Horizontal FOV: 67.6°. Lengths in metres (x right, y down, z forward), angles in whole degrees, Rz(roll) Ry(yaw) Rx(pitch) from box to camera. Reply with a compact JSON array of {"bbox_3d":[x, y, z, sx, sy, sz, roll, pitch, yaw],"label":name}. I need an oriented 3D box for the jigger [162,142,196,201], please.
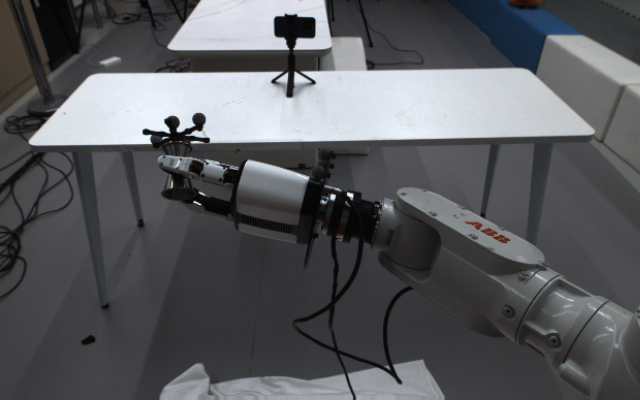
[{"bbox_3d":[-0.187,-0.039,0.640,0.043,0.043,0.071,-5,71,-9],"label":"jigger"}]
